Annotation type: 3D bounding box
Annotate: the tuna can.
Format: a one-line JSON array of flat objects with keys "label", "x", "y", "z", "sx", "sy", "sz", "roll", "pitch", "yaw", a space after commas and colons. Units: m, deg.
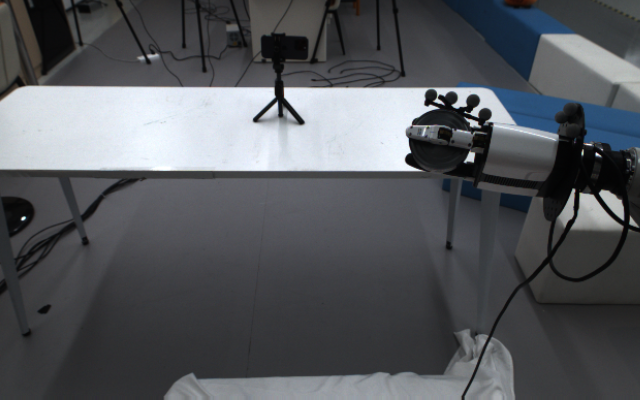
[{"label": "tuna can", "x": 0.170, "y": -0.085, "z": 0.682, "sx": 0.085, "sy": 0.085, "sz": 0.034, "roll": 13, "pitch": -6, "yaw": 16}]
